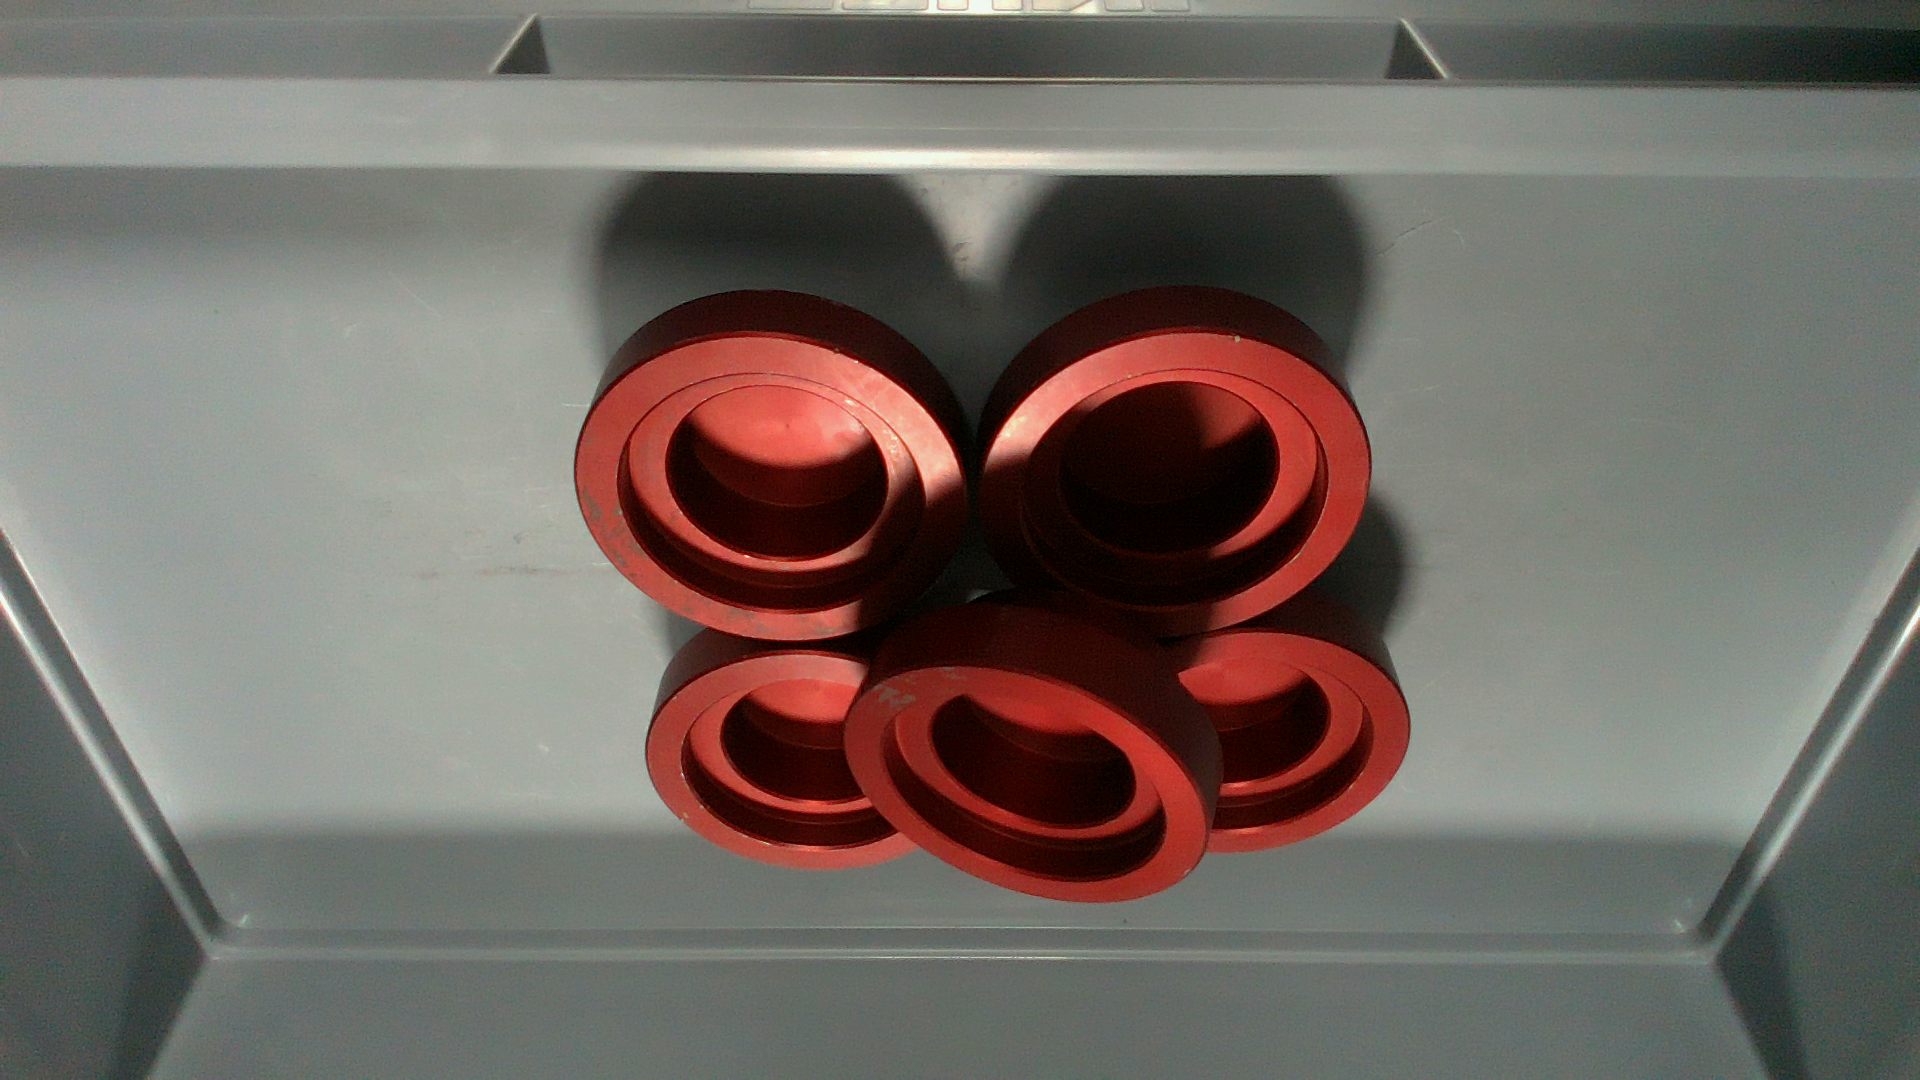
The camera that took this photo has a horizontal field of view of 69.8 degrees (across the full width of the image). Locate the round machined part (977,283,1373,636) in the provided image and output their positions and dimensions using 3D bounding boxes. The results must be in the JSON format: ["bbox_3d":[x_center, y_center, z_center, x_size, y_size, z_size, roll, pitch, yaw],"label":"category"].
[{"bbox_3d":[0.053,-0.024,0.358,0.098,0.042,0.098,0,130,0],"label":"round machined part"}]

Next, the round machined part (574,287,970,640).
[{"bbox_3d":[-0.046,-0.023,0.358,0.098,0.042,0.098,0,130,0],"label":"round machined part"}]

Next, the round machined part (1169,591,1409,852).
[{"bbox_3d":[0.082,0.048,0.419,0.098,0.042,0.098,0,130,0],"label":"round machined part"}]

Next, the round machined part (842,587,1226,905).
[{"bbox_3d":[0.022,0.051,0.365,0.098,0.042,0.098,13,137,13],"label":"round machined part"}]

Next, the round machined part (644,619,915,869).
[{"bbox_3d":[-0.044,0.055,0.424,0.098,0.042,0.098,0,130,0],"label":"round machined part"}]
